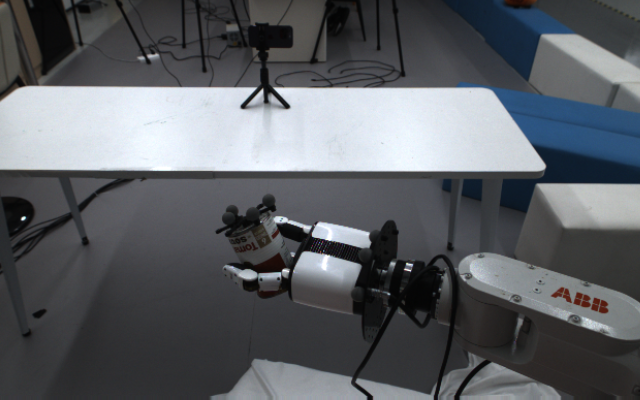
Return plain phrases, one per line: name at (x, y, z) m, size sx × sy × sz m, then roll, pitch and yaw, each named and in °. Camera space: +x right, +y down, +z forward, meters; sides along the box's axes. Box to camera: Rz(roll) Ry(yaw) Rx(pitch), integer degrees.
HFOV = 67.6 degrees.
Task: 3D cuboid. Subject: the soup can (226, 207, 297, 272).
soup can at (-0.075, 0.075, 0.665) m, size 0.067 × 0.101 × 0.067 m, roll -23°, pitch 16°, yaw 7°
